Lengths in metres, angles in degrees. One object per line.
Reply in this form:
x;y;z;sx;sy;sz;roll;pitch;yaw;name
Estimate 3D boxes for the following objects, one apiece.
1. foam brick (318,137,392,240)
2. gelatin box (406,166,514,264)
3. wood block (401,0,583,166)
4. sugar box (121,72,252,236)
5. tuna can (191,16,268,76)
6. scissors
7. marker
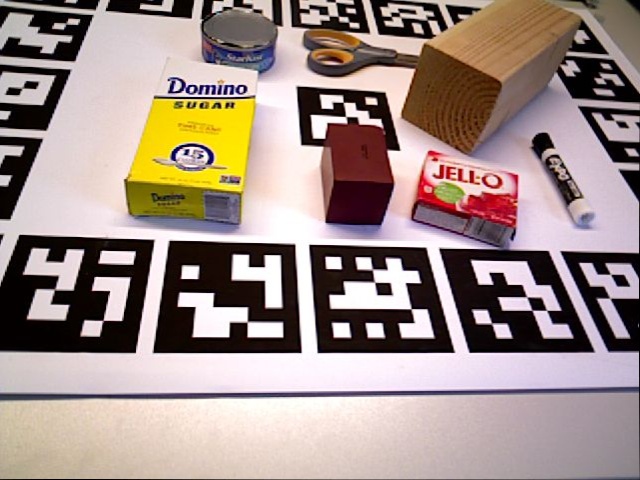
0.028;-0.045;0.480;0.052;0.052;0.077;3;51;-7;foam brick
0.129;-0.025;0.499;0.089;0.031;0.072;16;51;5;gelatin box
0.191;-0.174;0.594;0.090;0.093;0.201;36;54;20;wood block
-0.115;-0.085;0.500;0.092;0.046;0.173;6;51;-6;sugar box
-0.102;-0.212;0.608;0.085;0.034;0.084;4;51;-6;tuna can
0.066;-0.205;0.645;0.202;0.016;0.086;6;51;-1;scissors
0.233;-0.050;0.540;0.019;0.020;0.119;3;53;-8;marker
